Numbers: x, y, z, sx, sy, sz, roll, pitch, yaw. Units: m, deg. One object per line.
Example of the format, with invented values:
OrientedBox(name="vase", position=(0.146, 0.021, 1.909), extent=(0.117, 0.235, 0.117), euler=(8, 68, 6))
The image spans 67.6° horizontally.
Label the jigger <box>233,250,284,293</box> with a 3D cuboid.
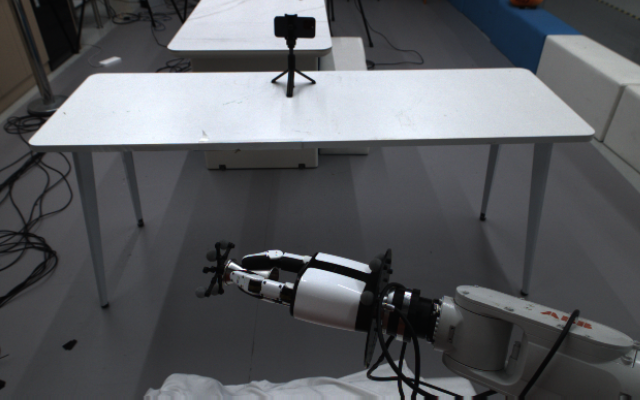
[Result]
OrientedBox(name="jigger", position=(-0.092, 0.106, 0.688), extent=(0.071, 0.043, 0.043), euler=(10, 35, 16))
